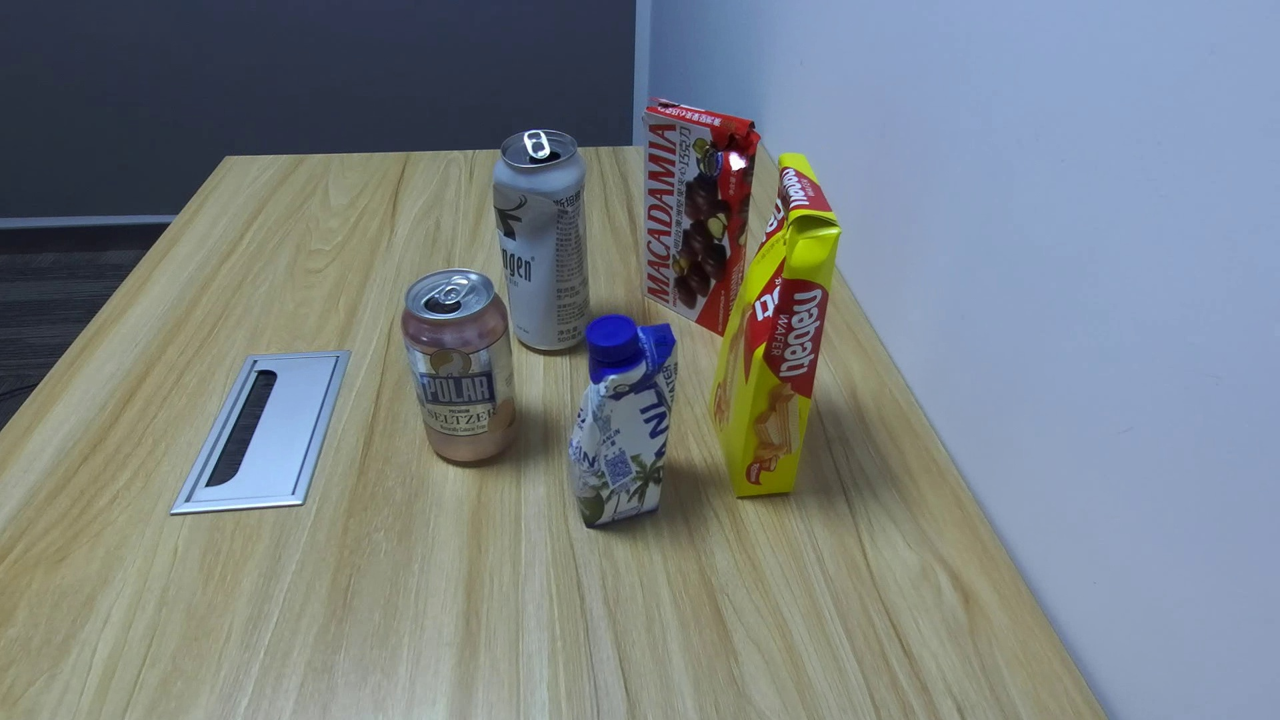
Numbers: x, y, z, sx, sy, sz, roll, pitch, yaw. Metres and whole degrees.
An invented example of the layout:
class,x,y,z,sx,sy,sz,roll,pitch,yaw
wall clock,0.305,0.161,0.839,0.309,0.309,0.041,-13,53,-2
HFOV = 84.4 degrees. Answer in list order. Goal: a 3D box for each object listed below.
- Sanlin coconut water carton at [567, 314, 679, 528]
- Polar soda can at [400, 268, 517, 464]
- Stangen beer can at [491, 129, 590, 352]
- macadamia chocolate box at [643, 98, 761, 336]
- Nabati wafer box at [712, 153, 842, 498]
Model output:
class,x,y,z,sx,sy,sz,roll,pitch,yaw
Sanlin coconut water carton,-0.006,0.037,0.427,0.069,0.144,0.056,-5,46,-20
Polar soda can,-0.119,0.005,0.476,0.067,0.126,0.067,1,39,-1
Stangen beer can,-0.074,-0.088,0.548,0.070,0.173,0.070,-7,38,-10
macadamia chocolate box,0.047,-0.112,0.570,0.102,0.187,0.027,29,50,30
Nabati wafer box,0.082,-0.015,0.441,0.042,0.205,0.113,-1,38,-5
